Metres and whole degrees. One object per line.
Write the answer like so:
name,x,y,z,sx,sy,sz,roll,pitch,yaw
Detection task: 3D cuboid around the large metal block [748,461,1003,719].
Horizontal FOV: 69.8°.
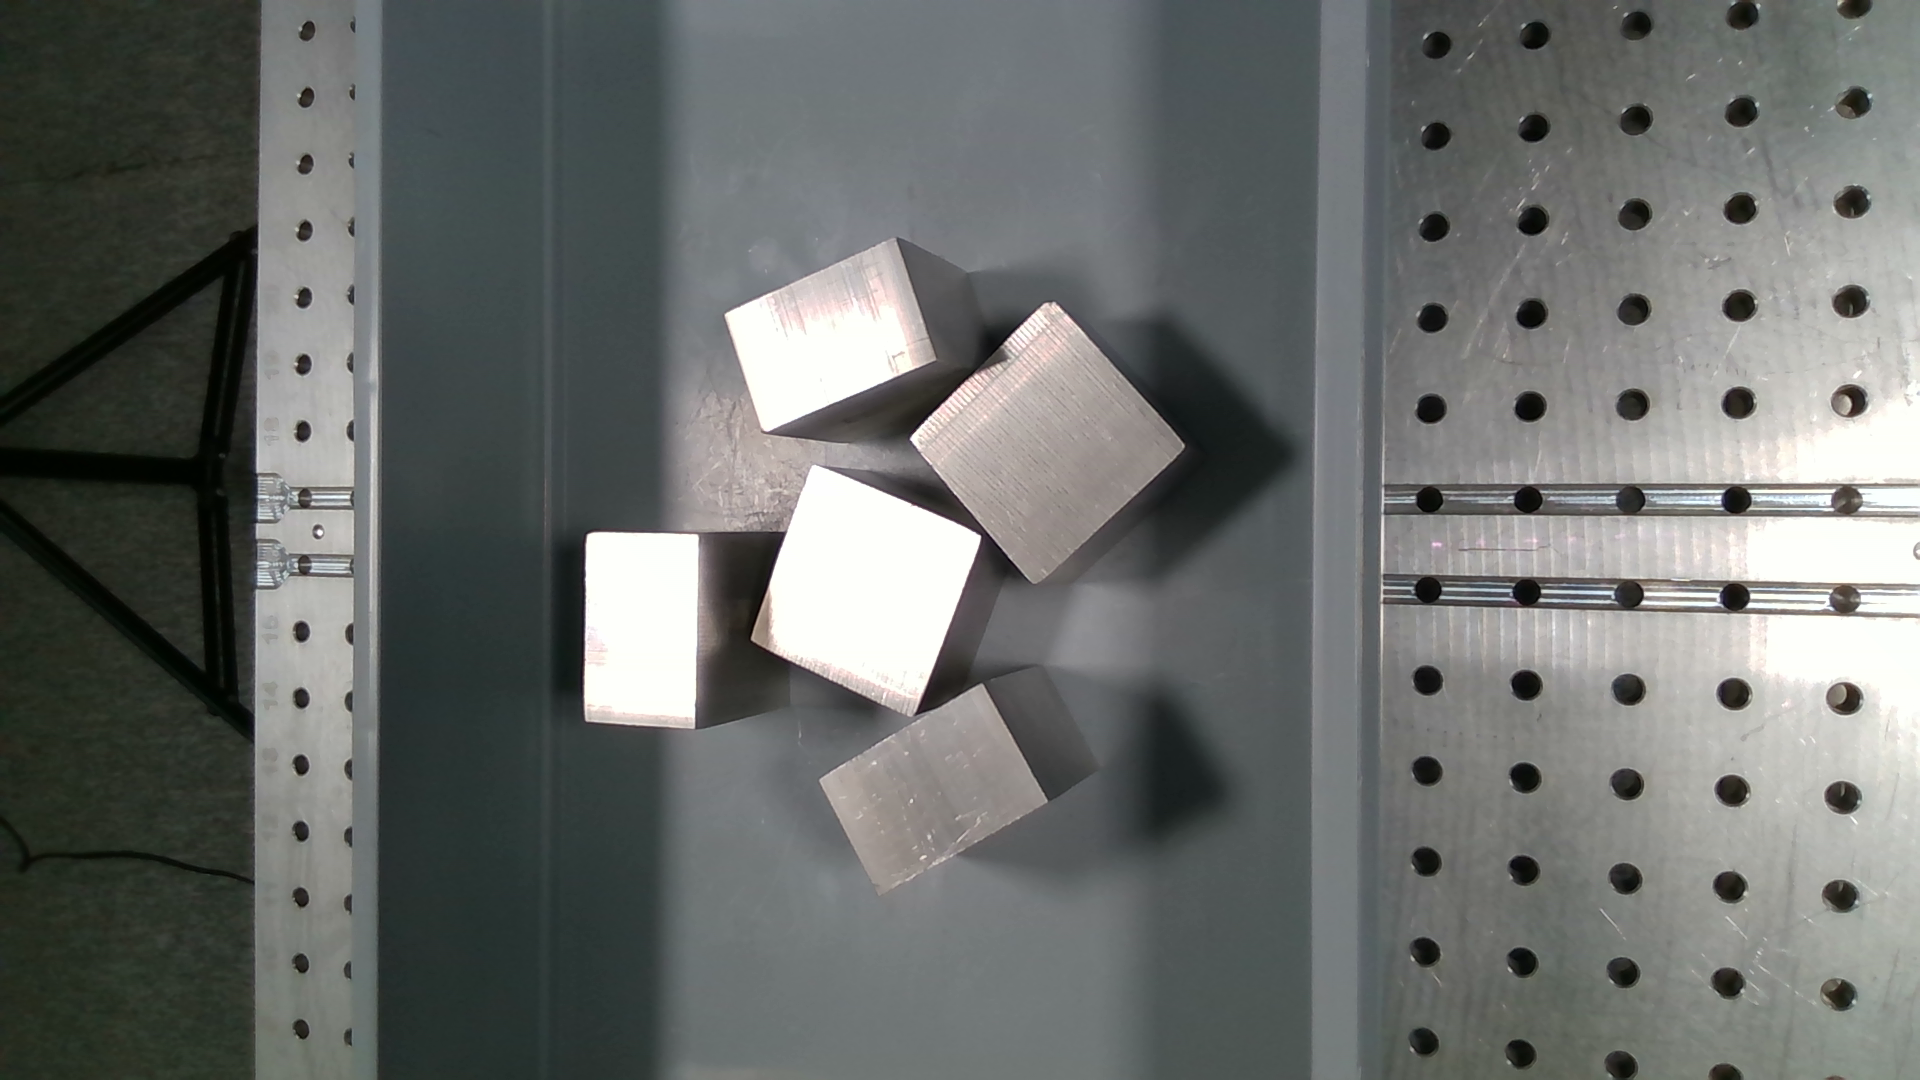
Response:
large metal block,-0.031,0.020,0.583,0.080,0.050,0.080,24,98,19

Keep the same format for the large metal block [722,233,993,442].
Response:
large metal block,-0.038,-0.080,0.568,0.080,0.080,0.050,-20,83,19

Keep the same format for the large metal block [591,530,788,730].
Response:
large metal block,-0.115,0.036,0.599,0.050,0.080,0.080,1,91,20

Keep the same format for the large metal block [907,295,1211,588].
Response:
large metal block,0.040,-0.038,0.556,0.080,0.050,0.080,-44,76,15

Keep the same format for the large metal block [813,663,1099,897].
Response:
large metal block,0.001,0.094,0.555,0.080,0.080,0.050,-33,79,17
